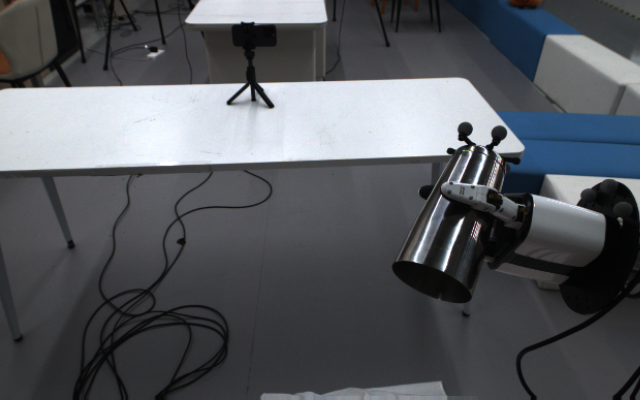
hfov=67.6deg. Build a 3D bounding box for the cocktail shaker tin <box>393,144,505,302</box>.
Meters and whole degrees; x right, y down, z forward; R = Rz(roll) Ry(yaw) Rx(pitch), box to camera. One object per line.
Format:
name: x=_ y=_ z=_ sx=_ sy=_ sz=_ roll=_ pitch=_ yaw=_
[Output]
cocktail shaker tin: x=0.161 y=0.018 z=0.562 sx=0.093 sy=0.093 sz=0.170 roll=18 pitch=67 yaw=22
